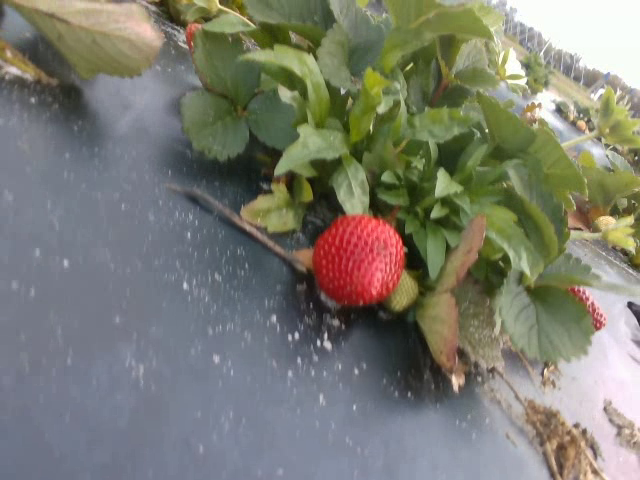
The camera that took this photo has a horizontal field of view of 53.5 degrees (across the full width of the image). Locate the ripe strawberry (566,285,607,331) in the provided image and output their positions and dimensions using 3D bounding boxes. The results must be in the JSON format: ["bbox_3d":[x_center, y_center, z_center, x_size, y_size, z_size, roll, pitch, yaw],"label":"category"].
[{"bbox_3d":[0.141,0.038,0.358,0.046,0.046,0.043,24,48,14],"label":"ripe strawberry"}]

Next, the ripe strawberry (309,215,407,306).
[{"bbox_3d":[0.015,0.013,0.258,0.043,0.042,0.050,32,26,-18],"label":"ripe strawberry"}]
